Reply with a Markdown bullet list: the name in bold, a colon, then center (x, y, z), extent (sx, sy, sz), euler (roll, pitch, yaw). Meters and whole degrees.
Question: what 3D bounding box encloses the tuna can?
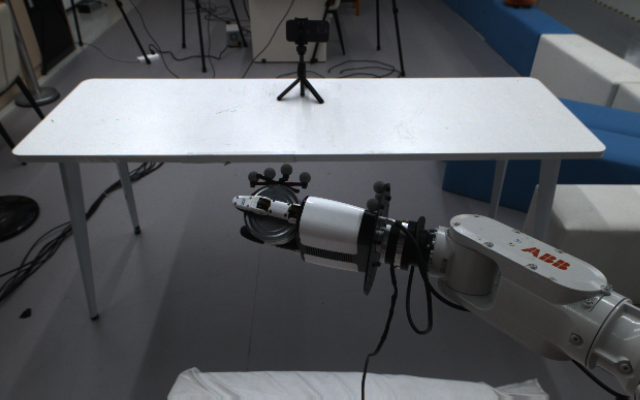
- **tuna can**: center (-0.065, 0.023, 0.711), extent (0.085, 0.034, 0.085), euler (-3, 73, 10)
